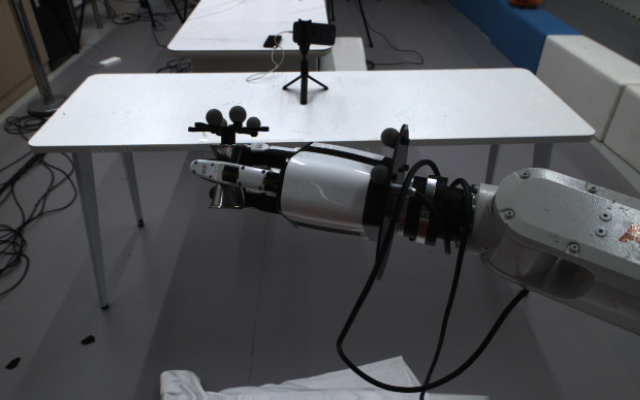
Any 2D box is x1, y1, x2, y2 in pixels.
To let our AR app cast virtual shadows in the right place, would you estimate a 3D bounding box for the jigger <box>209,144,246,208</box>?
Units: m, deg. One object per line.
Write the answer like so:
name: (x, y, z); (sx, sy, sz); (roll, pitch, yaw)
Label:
jigger: (-0.099, -0.026, 0.531); (0.043, 0.071, 0.043); (0, 2, 0)
